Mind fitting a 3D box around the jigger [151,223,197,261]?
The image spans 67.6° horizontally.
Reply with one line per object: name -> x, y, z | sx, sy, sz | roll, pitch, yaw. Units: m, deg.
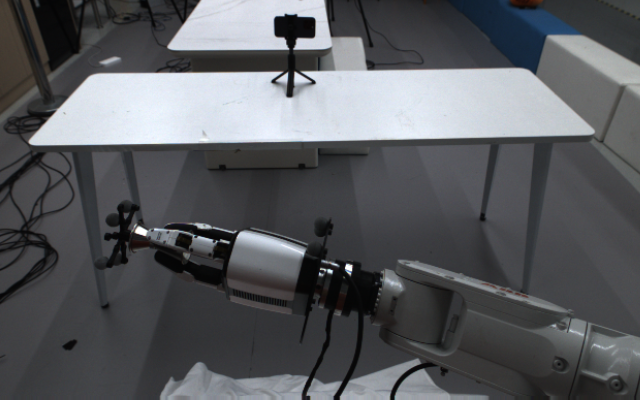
jigger -> -0.190, 0.051, 0.606 | 0.071, 0.043, 0.043 | 11, 35, 1
